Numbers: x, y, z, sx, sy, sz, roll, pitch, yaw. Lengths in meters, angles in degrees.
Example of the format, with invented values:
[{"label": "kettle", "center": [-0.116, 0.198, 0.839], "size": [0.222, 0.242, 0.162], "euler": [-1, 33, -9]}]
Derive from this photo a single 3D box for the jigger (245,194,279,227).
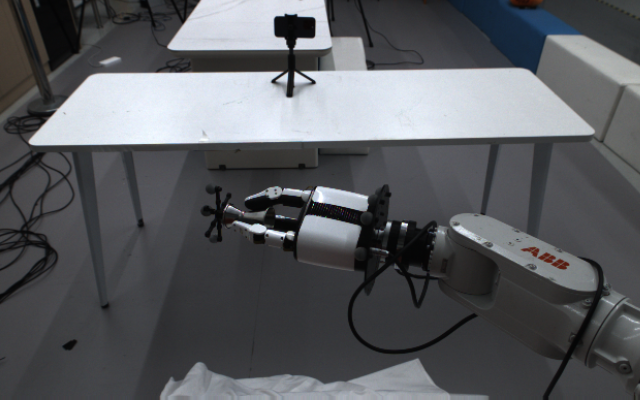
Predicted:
[{"label": "jigger", "center": [-0.100, 0.025, 0.729], "size": [0.071, 0.043, 0.043], "euler": [6, 34, 15]}]
